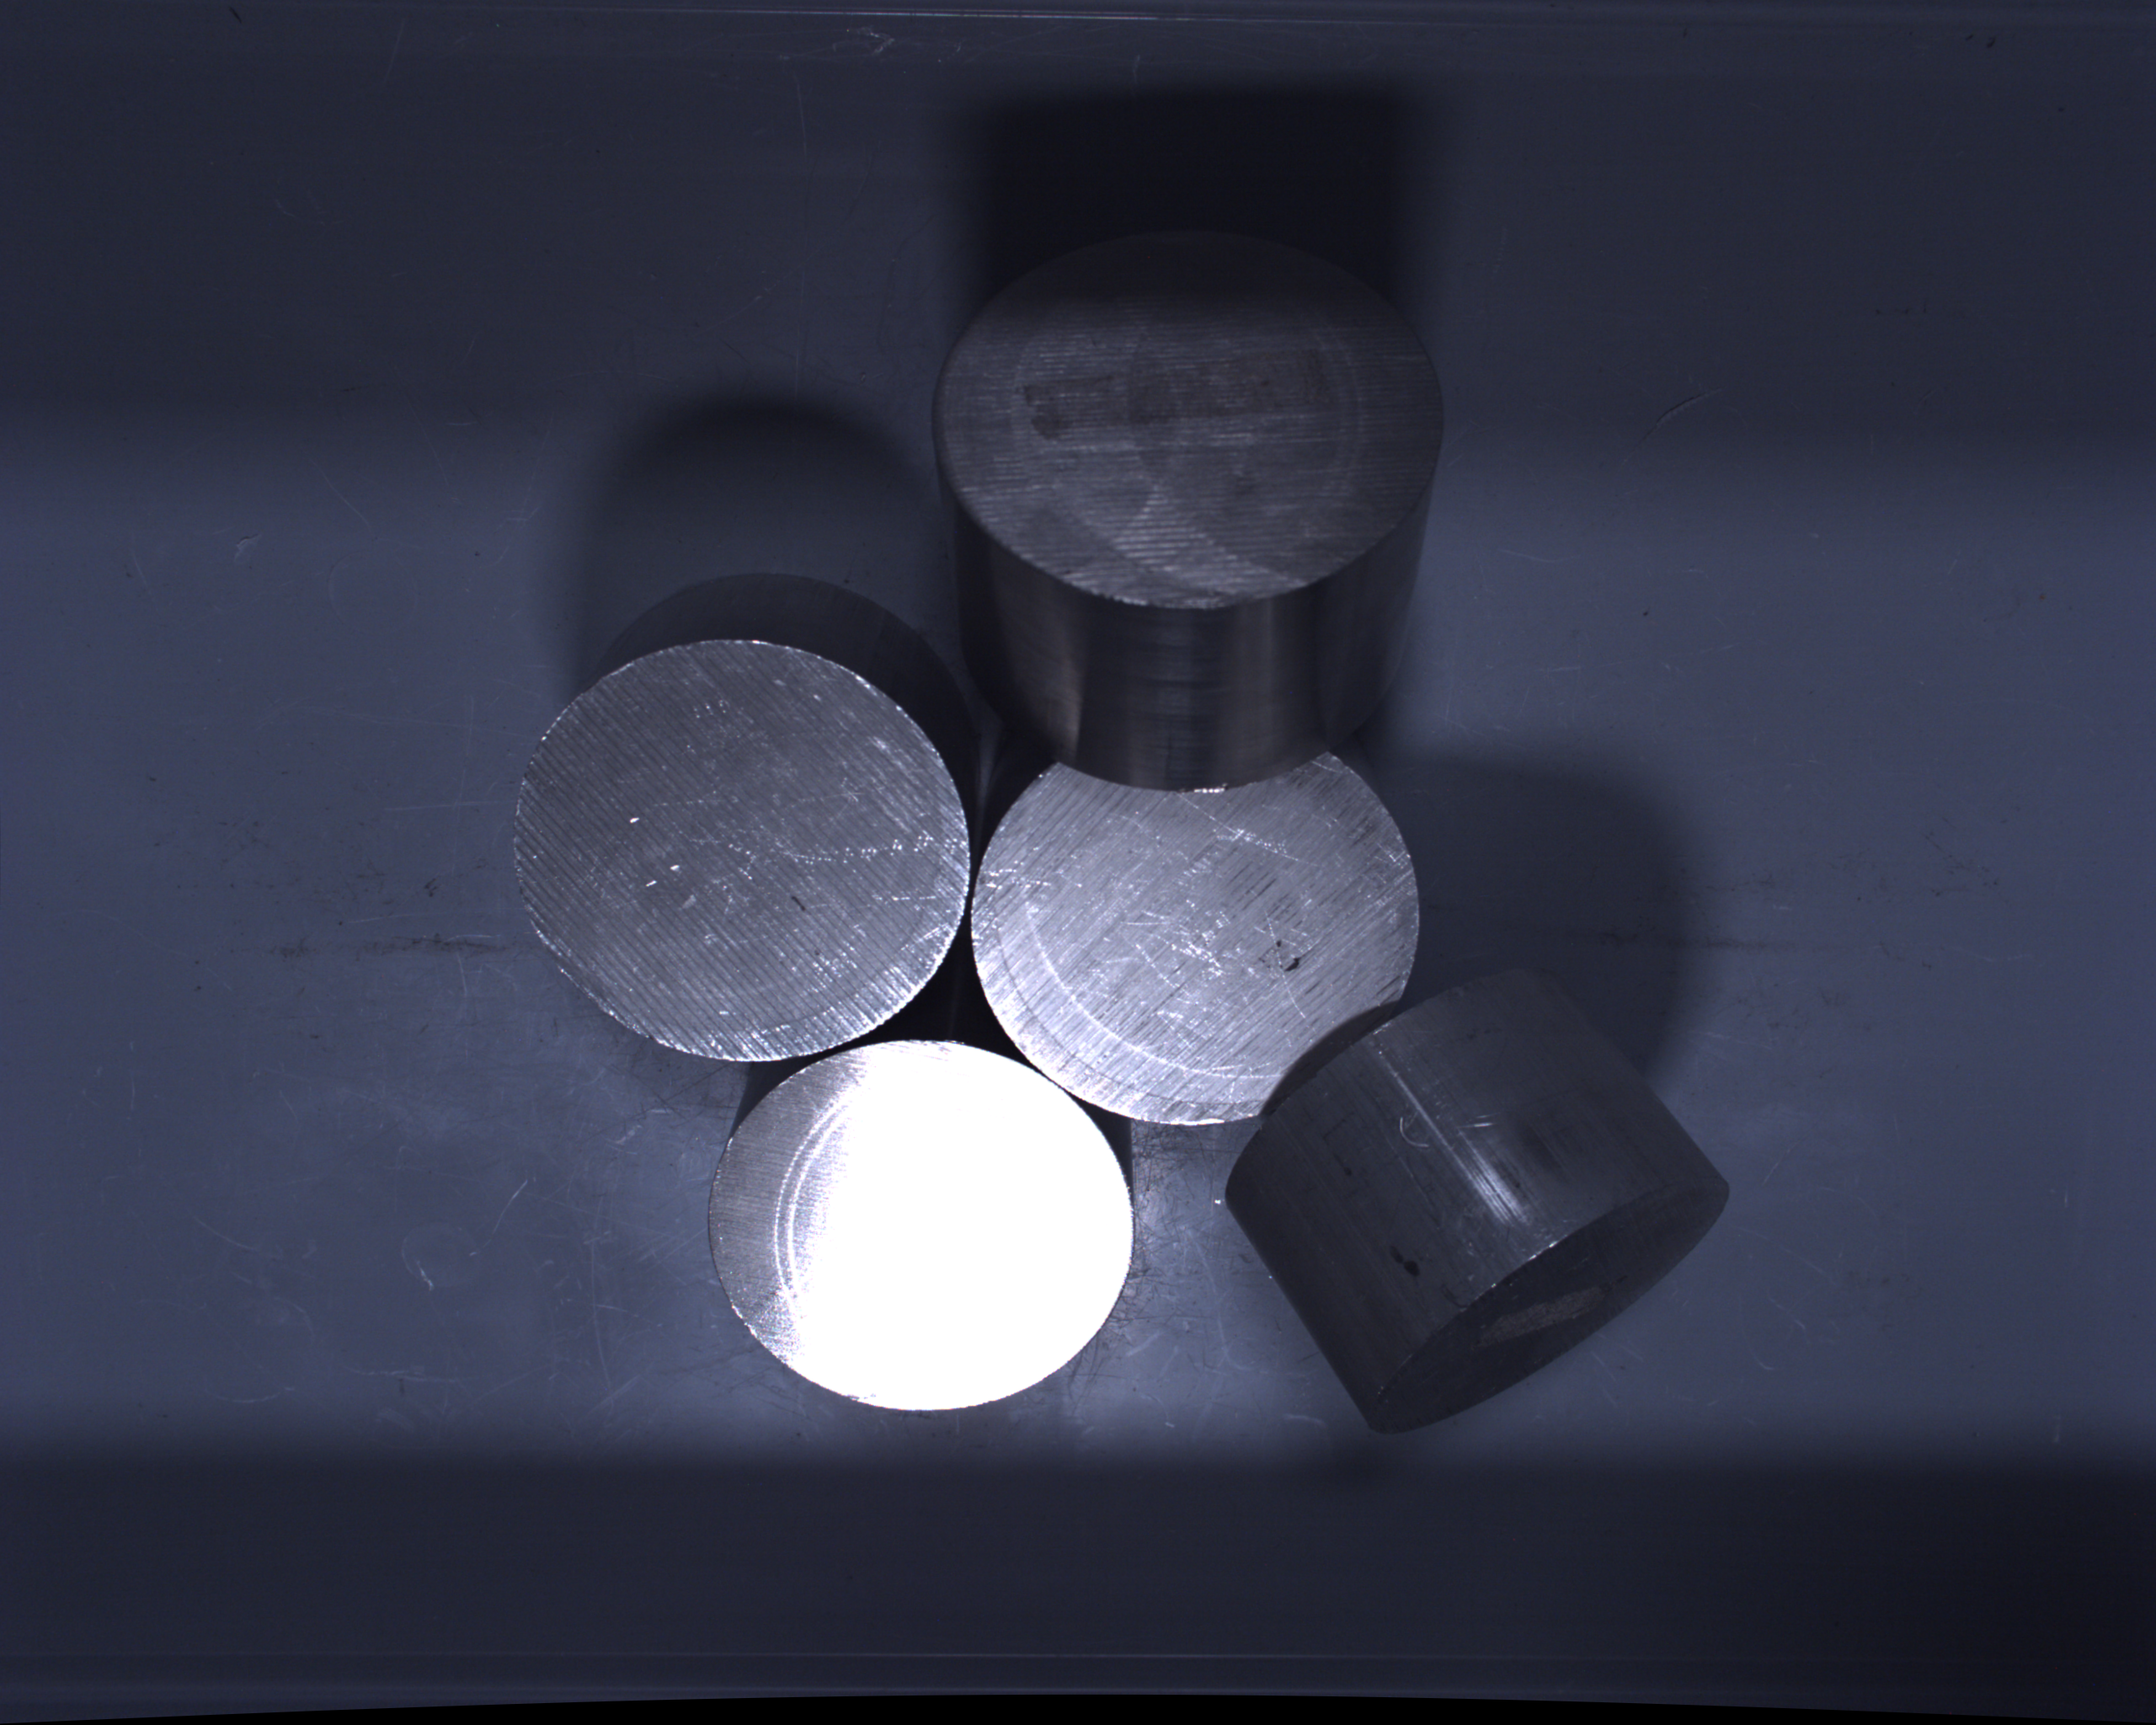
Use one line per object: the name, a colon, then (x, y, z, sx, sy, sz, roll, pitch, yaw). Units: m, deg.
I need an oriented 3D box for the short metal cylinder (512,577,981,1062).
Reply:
short metal cylinder: (-0.059, -0.009, 0.391, 0.081, 0.050, 0.079, 0, 110, -1)

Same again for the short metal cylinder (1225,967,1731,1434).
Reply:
short metal cylinder: (0.076, 0.065, 0.399, 0.081, 0.050, 0.080, -25, 149, -16)

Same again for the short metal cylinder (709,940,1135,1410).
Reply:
short metal cylinder: (-0.030, 0.061, 0.418, 0.081, 0.050, 0.079, 0, 110, -1)

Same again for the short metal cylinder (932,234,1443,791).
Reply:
short metal cylinder: (0.018, -0.059, 0.351, 0.081, 0.080, 0.050, -3, 149, 0)

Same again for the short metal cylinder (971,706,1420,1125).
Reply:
short metal cylinder: (0.021, 0.003, 0.397, 0.081, 0.050, 0.079, 0, 110, -1)
